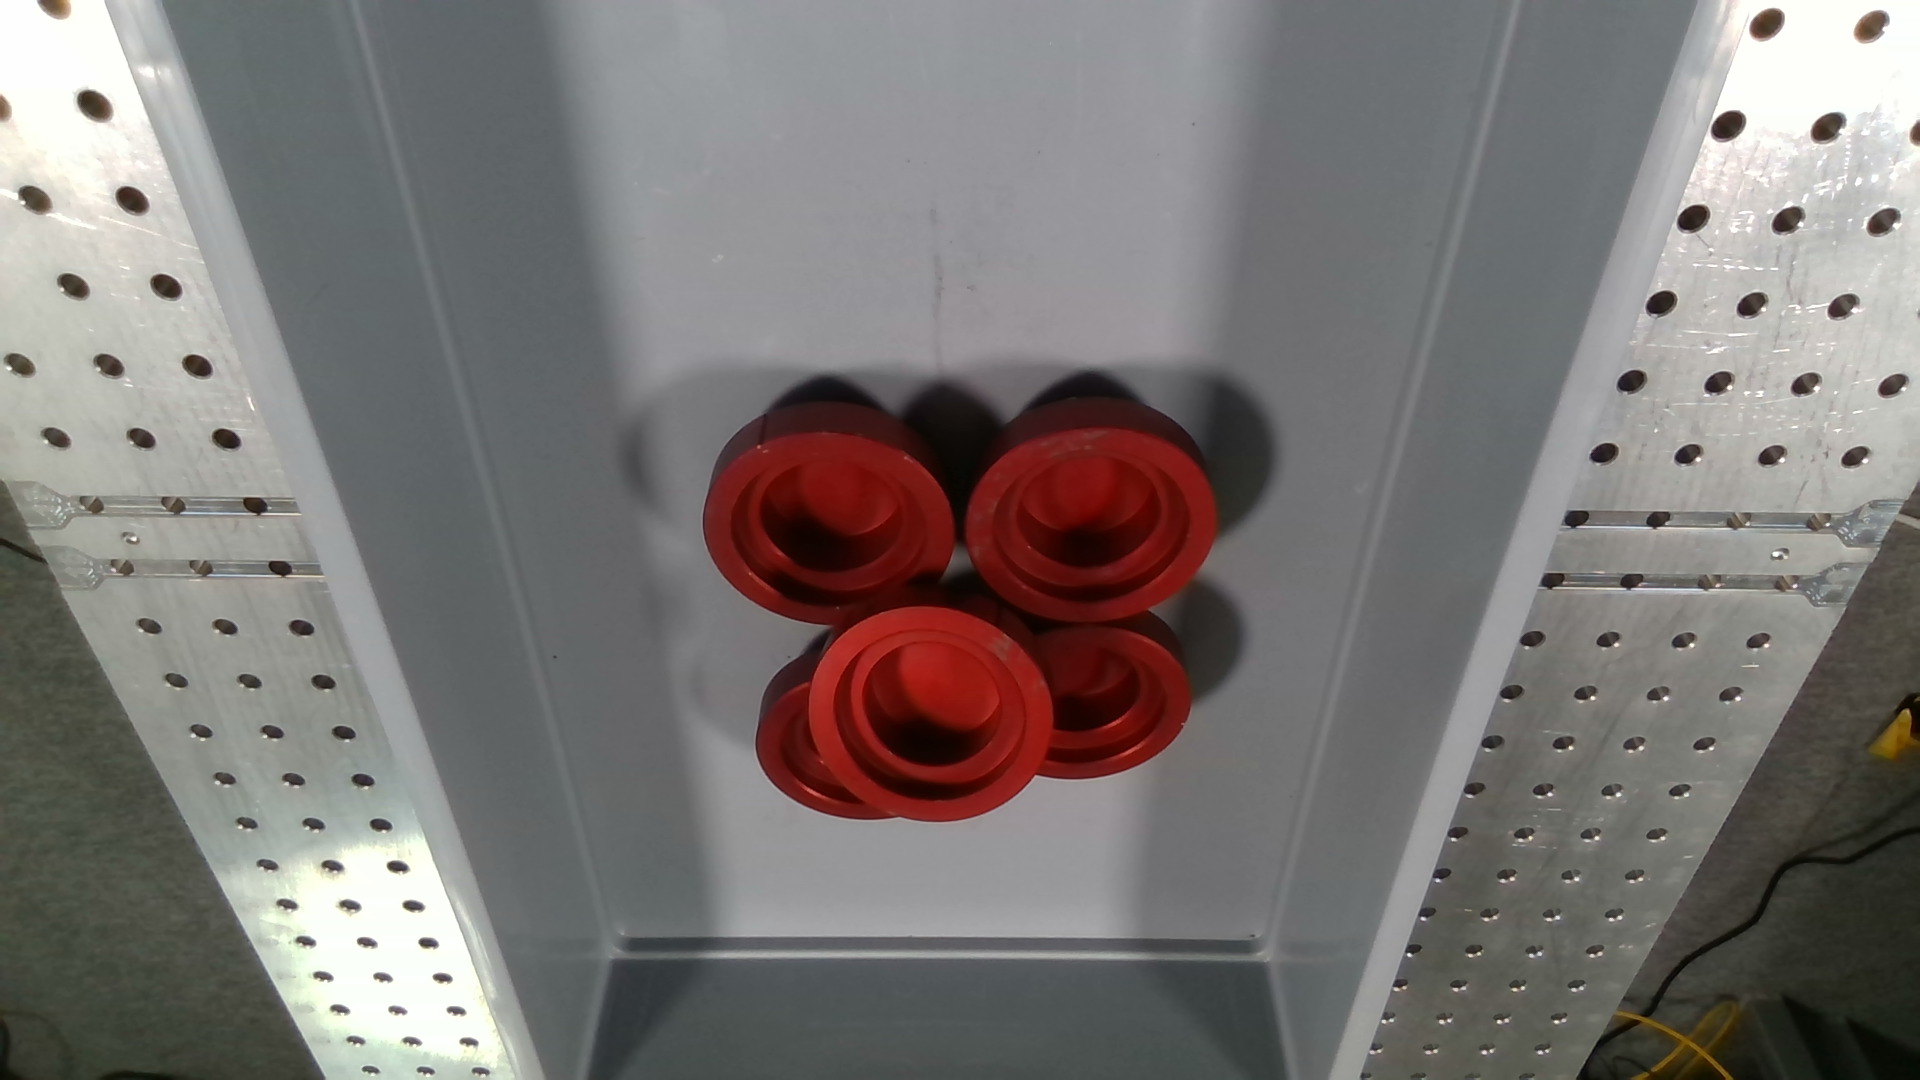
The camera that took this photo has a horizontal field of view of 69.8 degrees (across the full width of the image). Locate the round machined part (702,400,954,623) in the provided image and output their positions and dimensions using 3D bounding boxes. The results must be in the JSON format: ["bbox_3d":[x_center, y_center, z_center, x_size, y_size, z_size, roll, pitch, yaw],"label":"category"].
[{"bbox_3d":[-0.051,-0.016,0.553,0.098,0.042,0.098,0,130,0],"label":"round machined part"}]

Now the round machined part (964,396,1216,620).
[{"bbox_3d":[0.051,-0.018,0.552,0.098,0.042,0.098,0,130,0],"label":"round machined part"}]

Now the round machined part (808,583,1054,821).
[{"bbox_3d":[-0.010,0.062,0.563,0.098,0.042,0.098,2,112,4],"label":"round machined part"}]

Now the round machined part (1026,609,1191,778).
[{"bbox_3d":[0.052,0.059,0.616,0.098,0.042,0.098,0,130,0],"label":"round machined part"}]

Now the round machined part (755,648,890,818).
[{"bbox_3d":[-0.043,0.081,0.634,0.098,0.042,0.098,0,130,0],"label":"round machined part"}]
